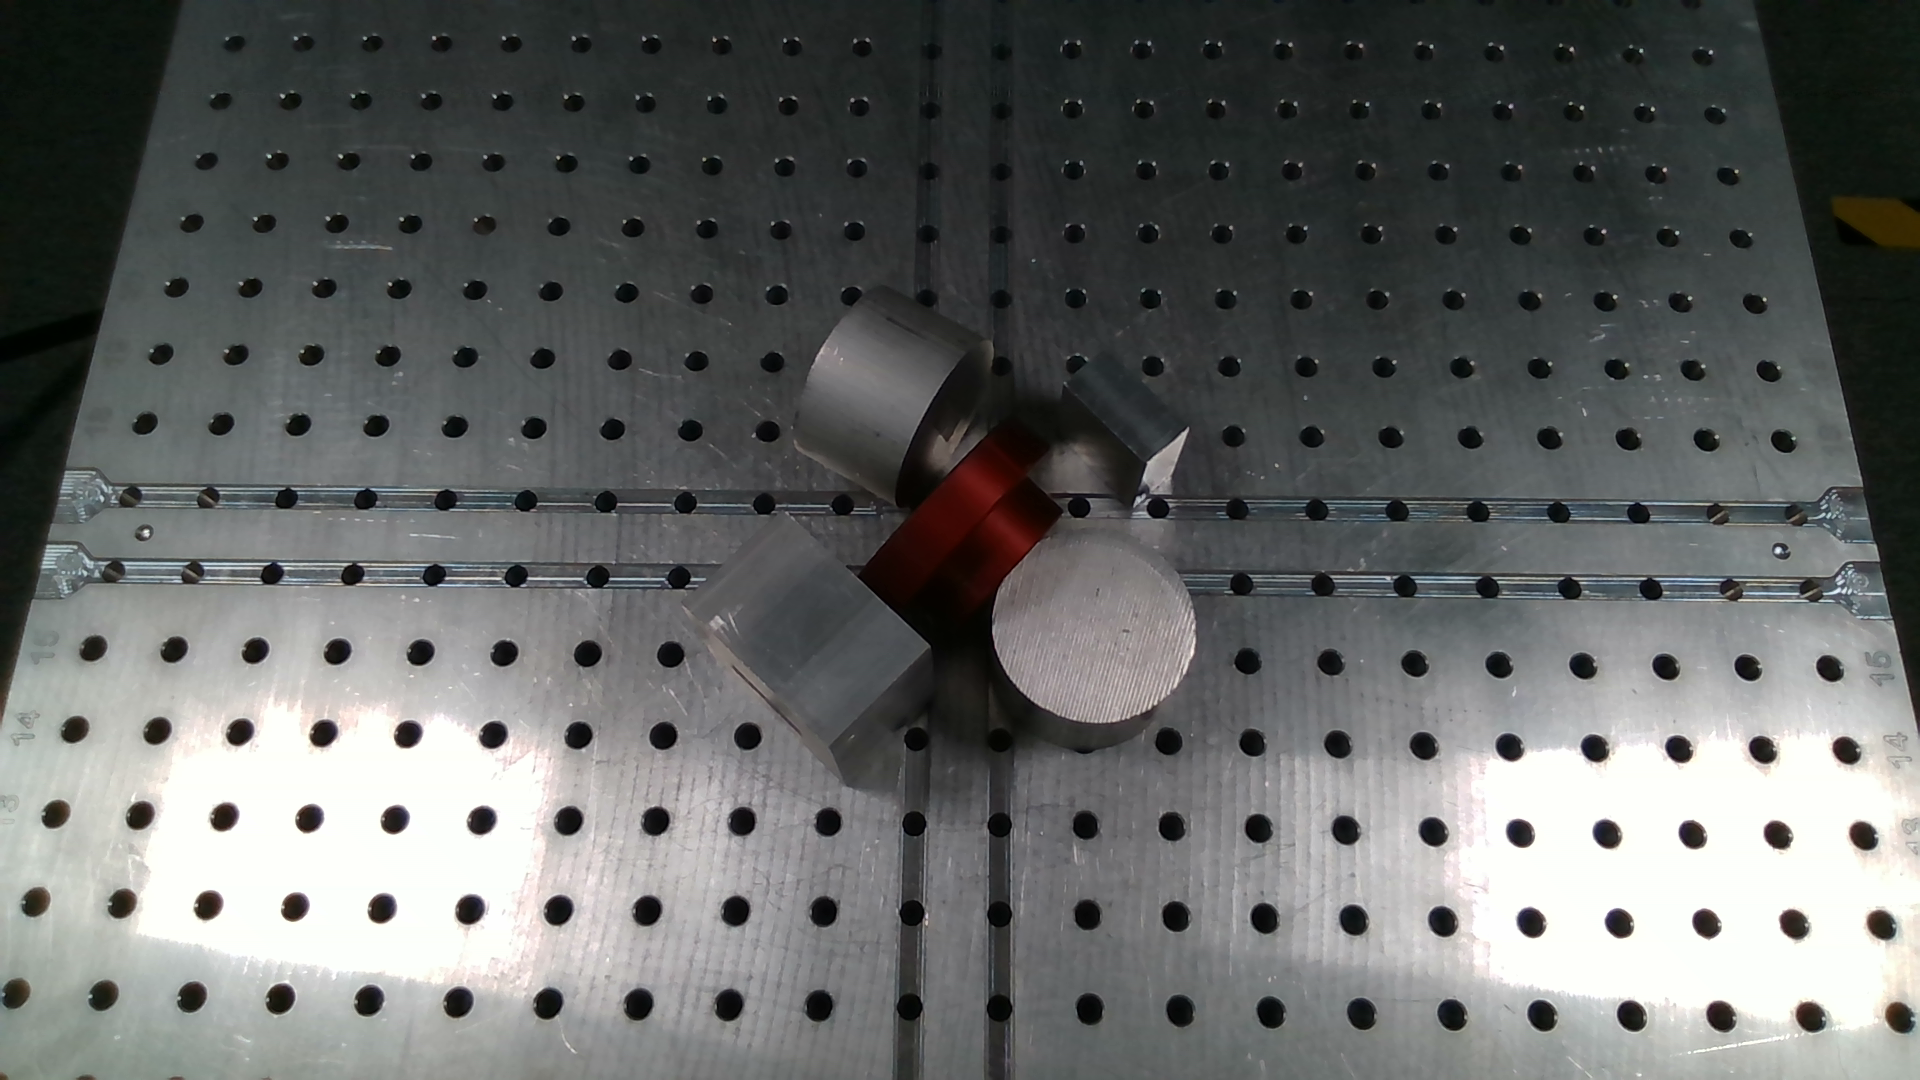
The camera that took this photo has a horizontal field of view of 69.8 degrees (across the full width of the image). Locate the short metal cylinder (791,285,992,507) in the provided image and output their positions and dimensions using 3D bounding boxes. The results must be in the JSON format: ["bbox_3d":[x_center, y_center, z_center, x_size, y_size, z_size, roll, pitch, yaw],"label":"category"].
[{"bbox_3d":[-0.028,-0.061,0.583,0.050,0.080,0.080,29,73,10],"label":"short metal cylinder"}]

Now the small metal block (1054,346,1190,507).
[{"bbox_3d":[0.069,-0.048,0.594,0.025,0.050,0.050,-41,75,-13],"label":"small metal block"}]

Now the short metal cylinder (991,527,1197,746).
[{"bbox_3d":[0.053,0.041,0.562,0.080,0.050,0.080,0,70,0],"label":"short metal cylinder"}]

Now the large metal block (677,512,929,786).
[{"bbox_3d":[-0.059,0.046,0.546,0.080,0.080,0.050,41,75,13],"label":"large metal block"}]

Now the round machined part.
[{"bbox_3d":[0.004,-0.002,0.553,0.042,0.098,0.098,43,75,1],"label":"round machined part"}]
